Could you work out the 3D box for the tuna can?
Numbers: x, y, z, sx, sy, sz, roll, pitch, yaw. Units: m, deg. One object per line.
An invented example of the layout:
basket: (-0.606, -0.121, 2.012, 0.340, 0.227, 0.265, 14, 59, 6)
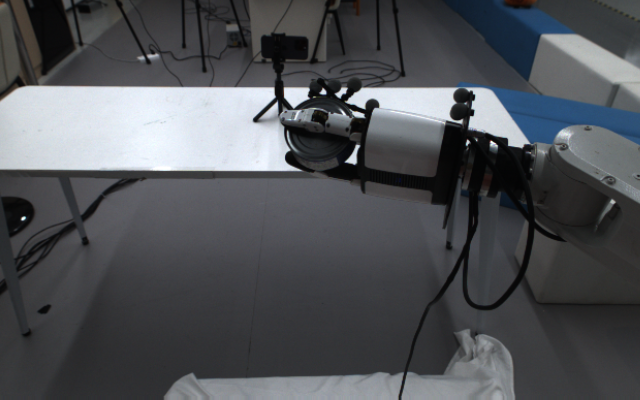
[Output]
tuna can: (0.003, -0.081, 0.590, 0.085, 0.034, 0.085, -4, 67, 10)
